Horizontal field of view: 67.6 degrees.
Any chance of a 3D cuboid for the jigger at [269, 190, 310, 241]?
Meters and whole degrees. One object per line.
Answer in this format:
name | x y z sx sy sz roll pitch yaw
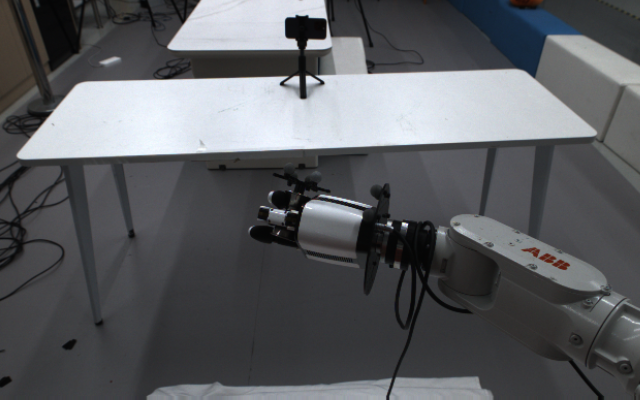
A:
jigger | -0.042 0.022 0.706 0.043 0.071 0.043 19 -6 2
